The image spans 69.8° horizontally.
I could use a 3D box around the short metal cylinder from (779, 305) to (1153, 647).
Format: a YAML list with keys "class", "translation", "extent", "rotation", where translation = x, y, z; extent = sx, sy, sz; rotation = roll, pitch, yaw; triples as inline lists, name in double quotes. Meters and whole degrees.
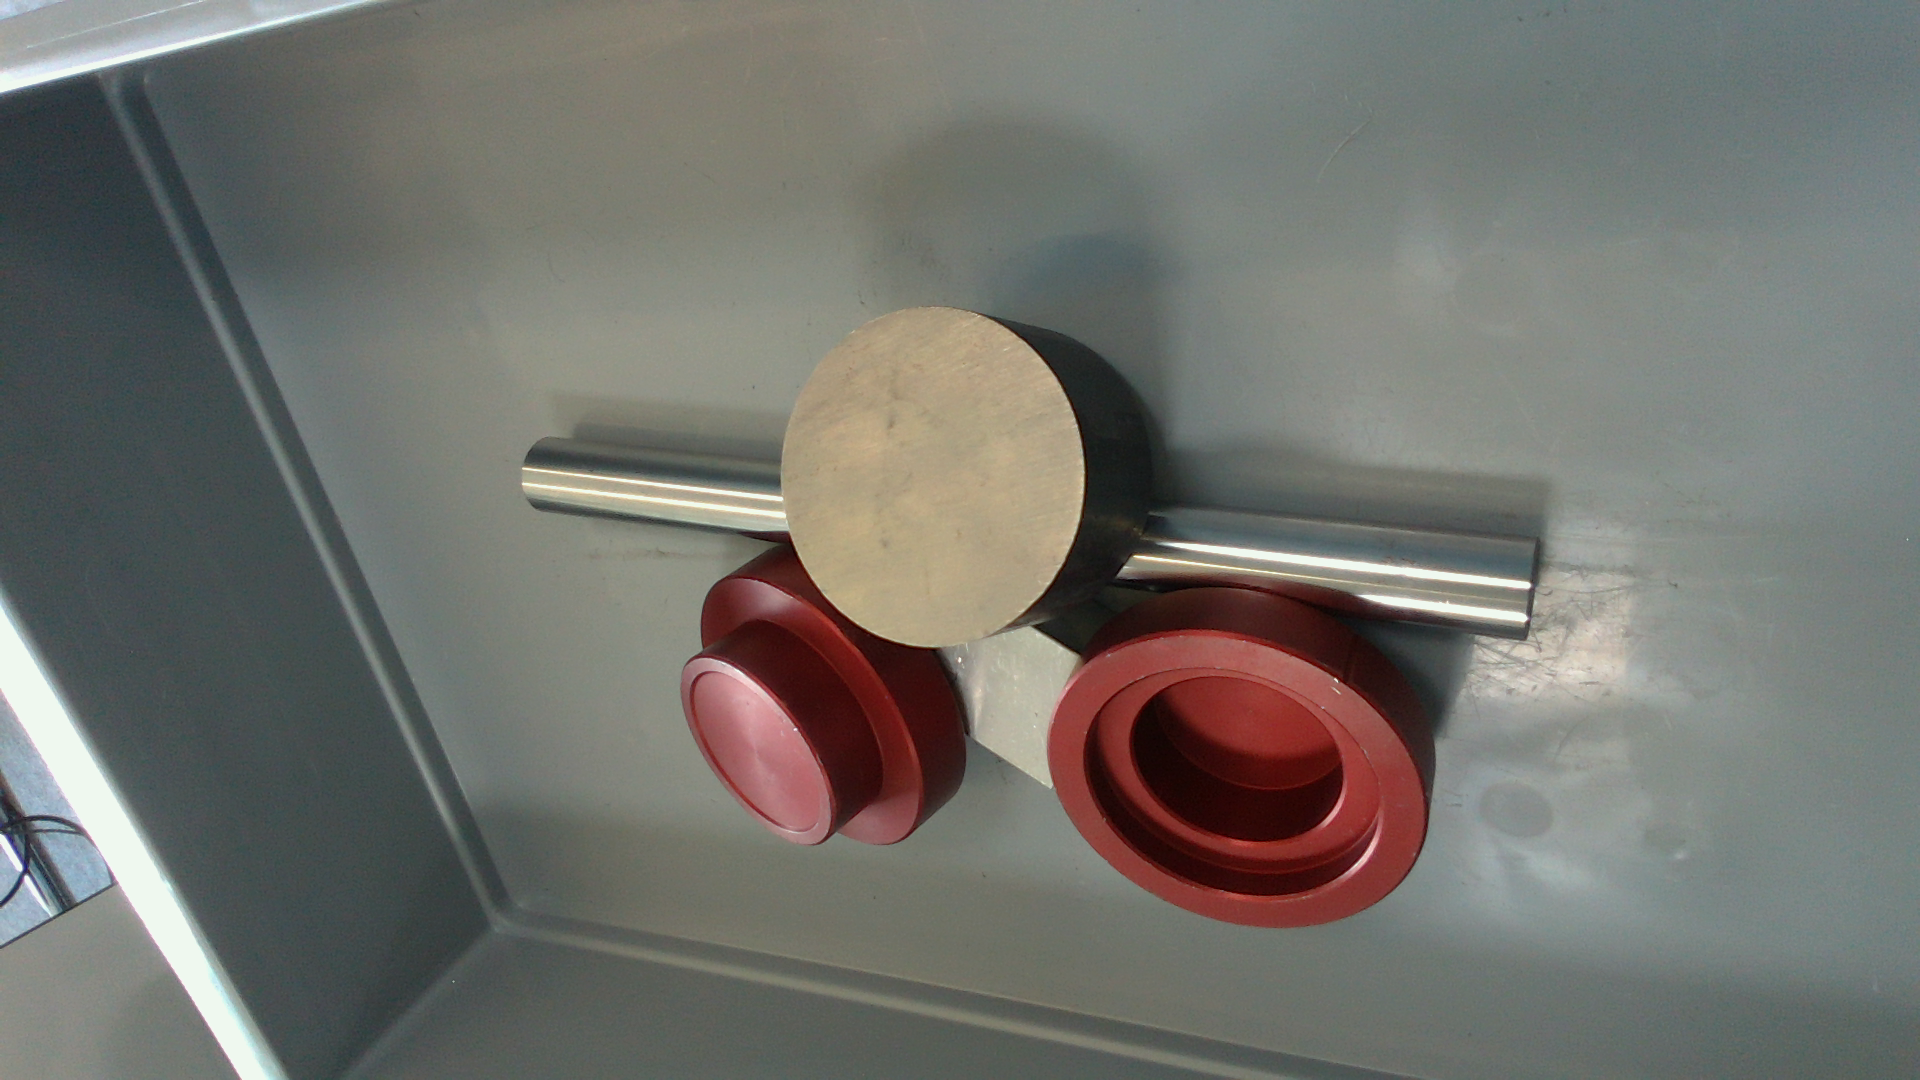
- class: "short metal cylinder"
  translation: [0.002, -0.016, 0.345]
  extent: [0.080, 0.050, 0.080]
  rotation: [2, 94, 25]

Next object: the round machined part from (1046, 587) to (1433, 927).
- class: "round machined part"
  translation: [0.076, 0.053, 0.370]
  extent: [0.098, 0.042, 0.098]
  rotation: [12, 125, 18]

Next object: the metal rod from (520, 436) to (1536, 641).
- class: "metal rod"
  translation: [0.000, -0.005, 0.388]
  extent: [0.299, 0.025, 0.025]
  rotation: [7, 122, 25]

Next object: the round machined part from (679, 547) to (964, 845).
- class: "round machined part"
  translation: [-0.048, 0.054, 0.423]
  extent: [0.098, 0.042, 0.098]
  rotation: [29, 137, 32]

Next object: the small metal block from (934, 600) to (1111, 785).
- class: "small metal block"
  translation: [0.020, 0.037, 0.404]
  extent: [0.050, 0.025, 0.050]
  rotation: [32, 129, 8]
